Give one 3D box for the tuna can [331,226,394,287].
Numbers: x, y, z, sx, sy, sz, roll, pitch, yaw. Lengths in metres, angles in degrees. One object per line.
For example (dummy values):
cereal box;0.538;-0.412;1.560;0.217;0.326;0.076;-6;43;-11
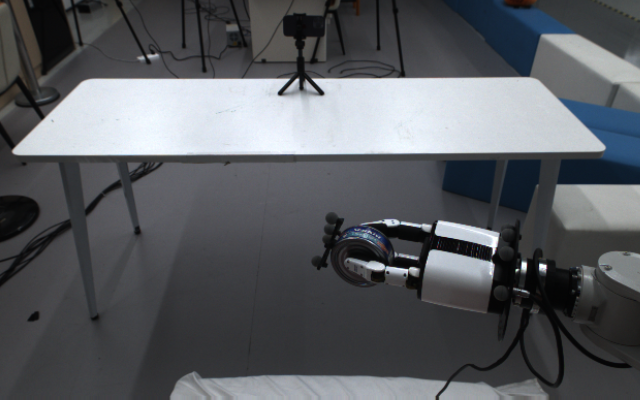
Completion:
tuna can;0.062;0.078;0.679;0.085;0.085;0.034;12;30;14
